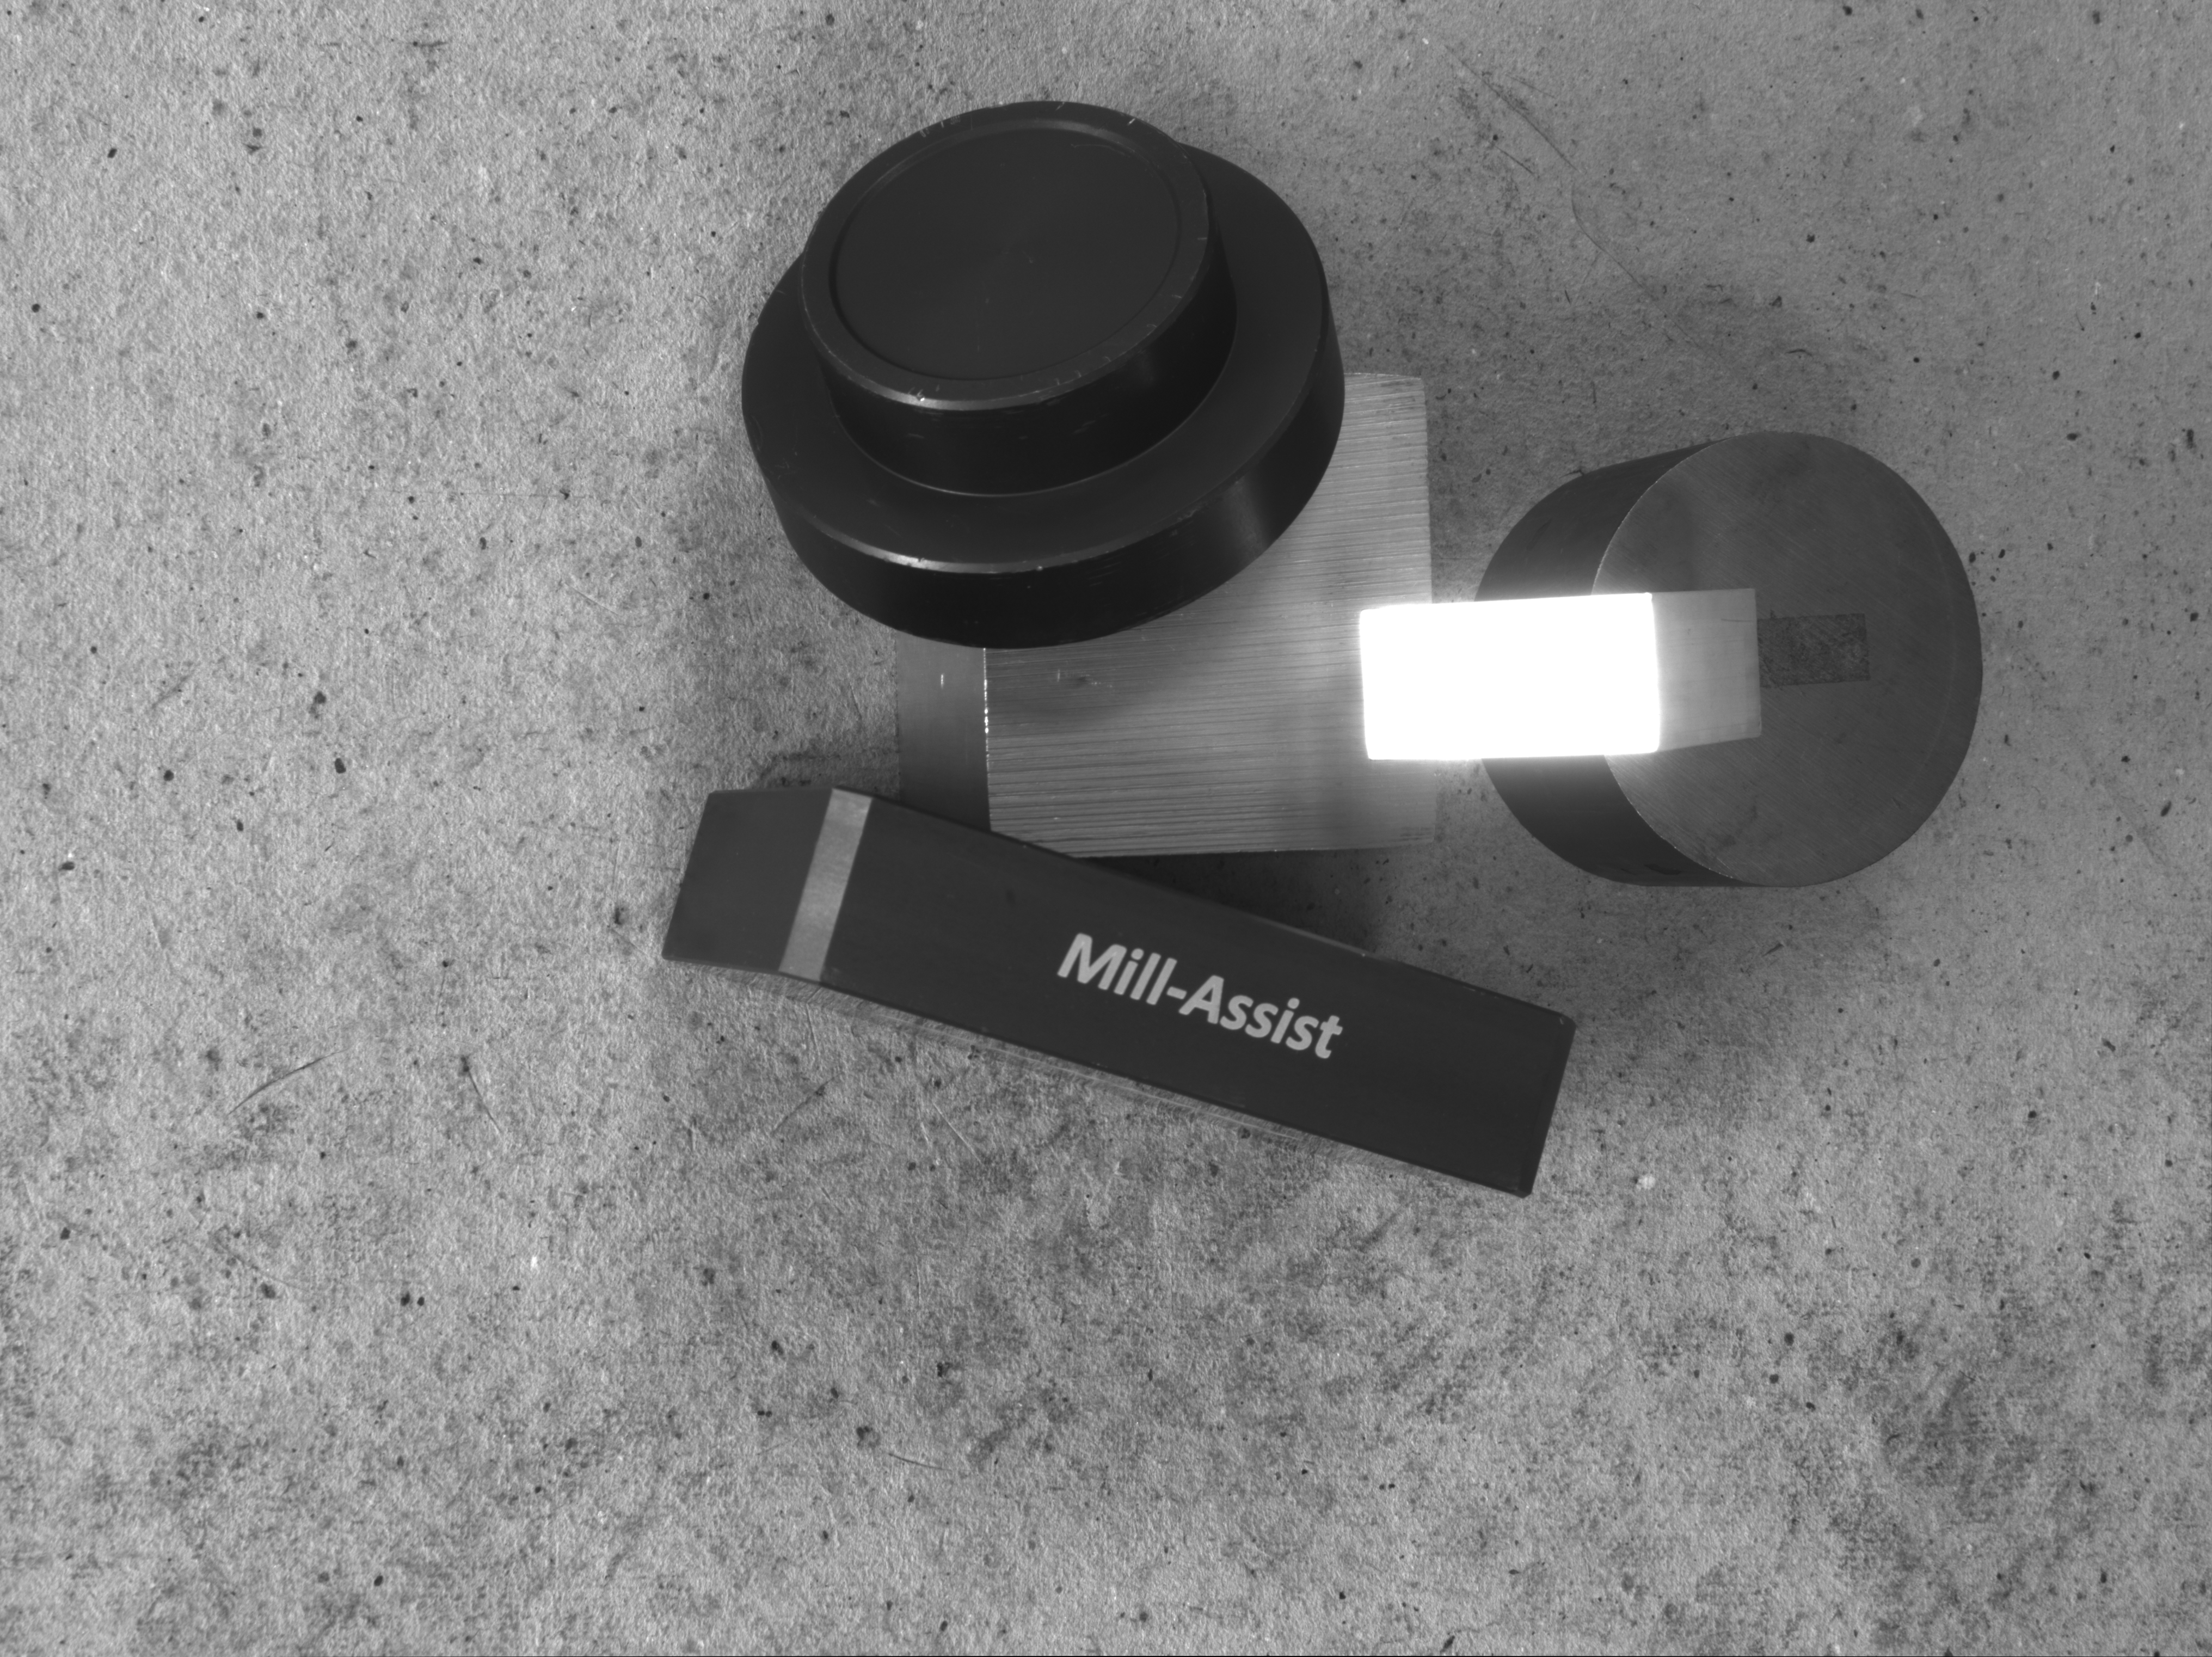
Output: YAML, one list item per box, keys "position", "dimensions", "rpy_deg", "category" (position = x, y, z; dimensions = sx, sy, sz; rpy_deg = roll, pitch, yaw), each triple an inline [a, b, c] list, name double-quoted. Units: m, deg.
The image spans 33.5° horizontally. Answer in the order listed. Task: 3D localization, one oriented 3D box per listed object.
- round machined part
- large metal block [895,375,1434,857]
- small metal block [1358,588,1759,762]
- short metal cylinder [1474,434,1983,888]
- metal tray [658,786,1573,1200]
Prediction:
- position: [-0.013, -0.080, 0.600]
  dimensions: [0.098, 0.098, 0.042]
  rpy_deg: [-38, 146, -16]
  category: "round machined part"
- position: [0.009, -0.036, 0.635]
  dimensions: [0.080, 0.050, 0.080]
  rpy_deg: [-1, 90, -20]
  category: "large metal block"
- position: [0.076, -0.026, 0.609]
  dimensions: [0.050, 0.050, 0.025]
  rpy_deg: [-9, 97, -61]
  category: "small metal block"
- position: [0.112, -0.029, 0.672]
  dimensions: [0.080, 0.050, 0.080]
  rpy_deg: [0, 90, -20]
  category: "short metal cylinder"
- position: [0.000, 0.027, 0.608]
  dimensions: [0.130, 0.090, 0.030]
  rpy_deg: [18, 84, -19]
  category: "metal tray"
